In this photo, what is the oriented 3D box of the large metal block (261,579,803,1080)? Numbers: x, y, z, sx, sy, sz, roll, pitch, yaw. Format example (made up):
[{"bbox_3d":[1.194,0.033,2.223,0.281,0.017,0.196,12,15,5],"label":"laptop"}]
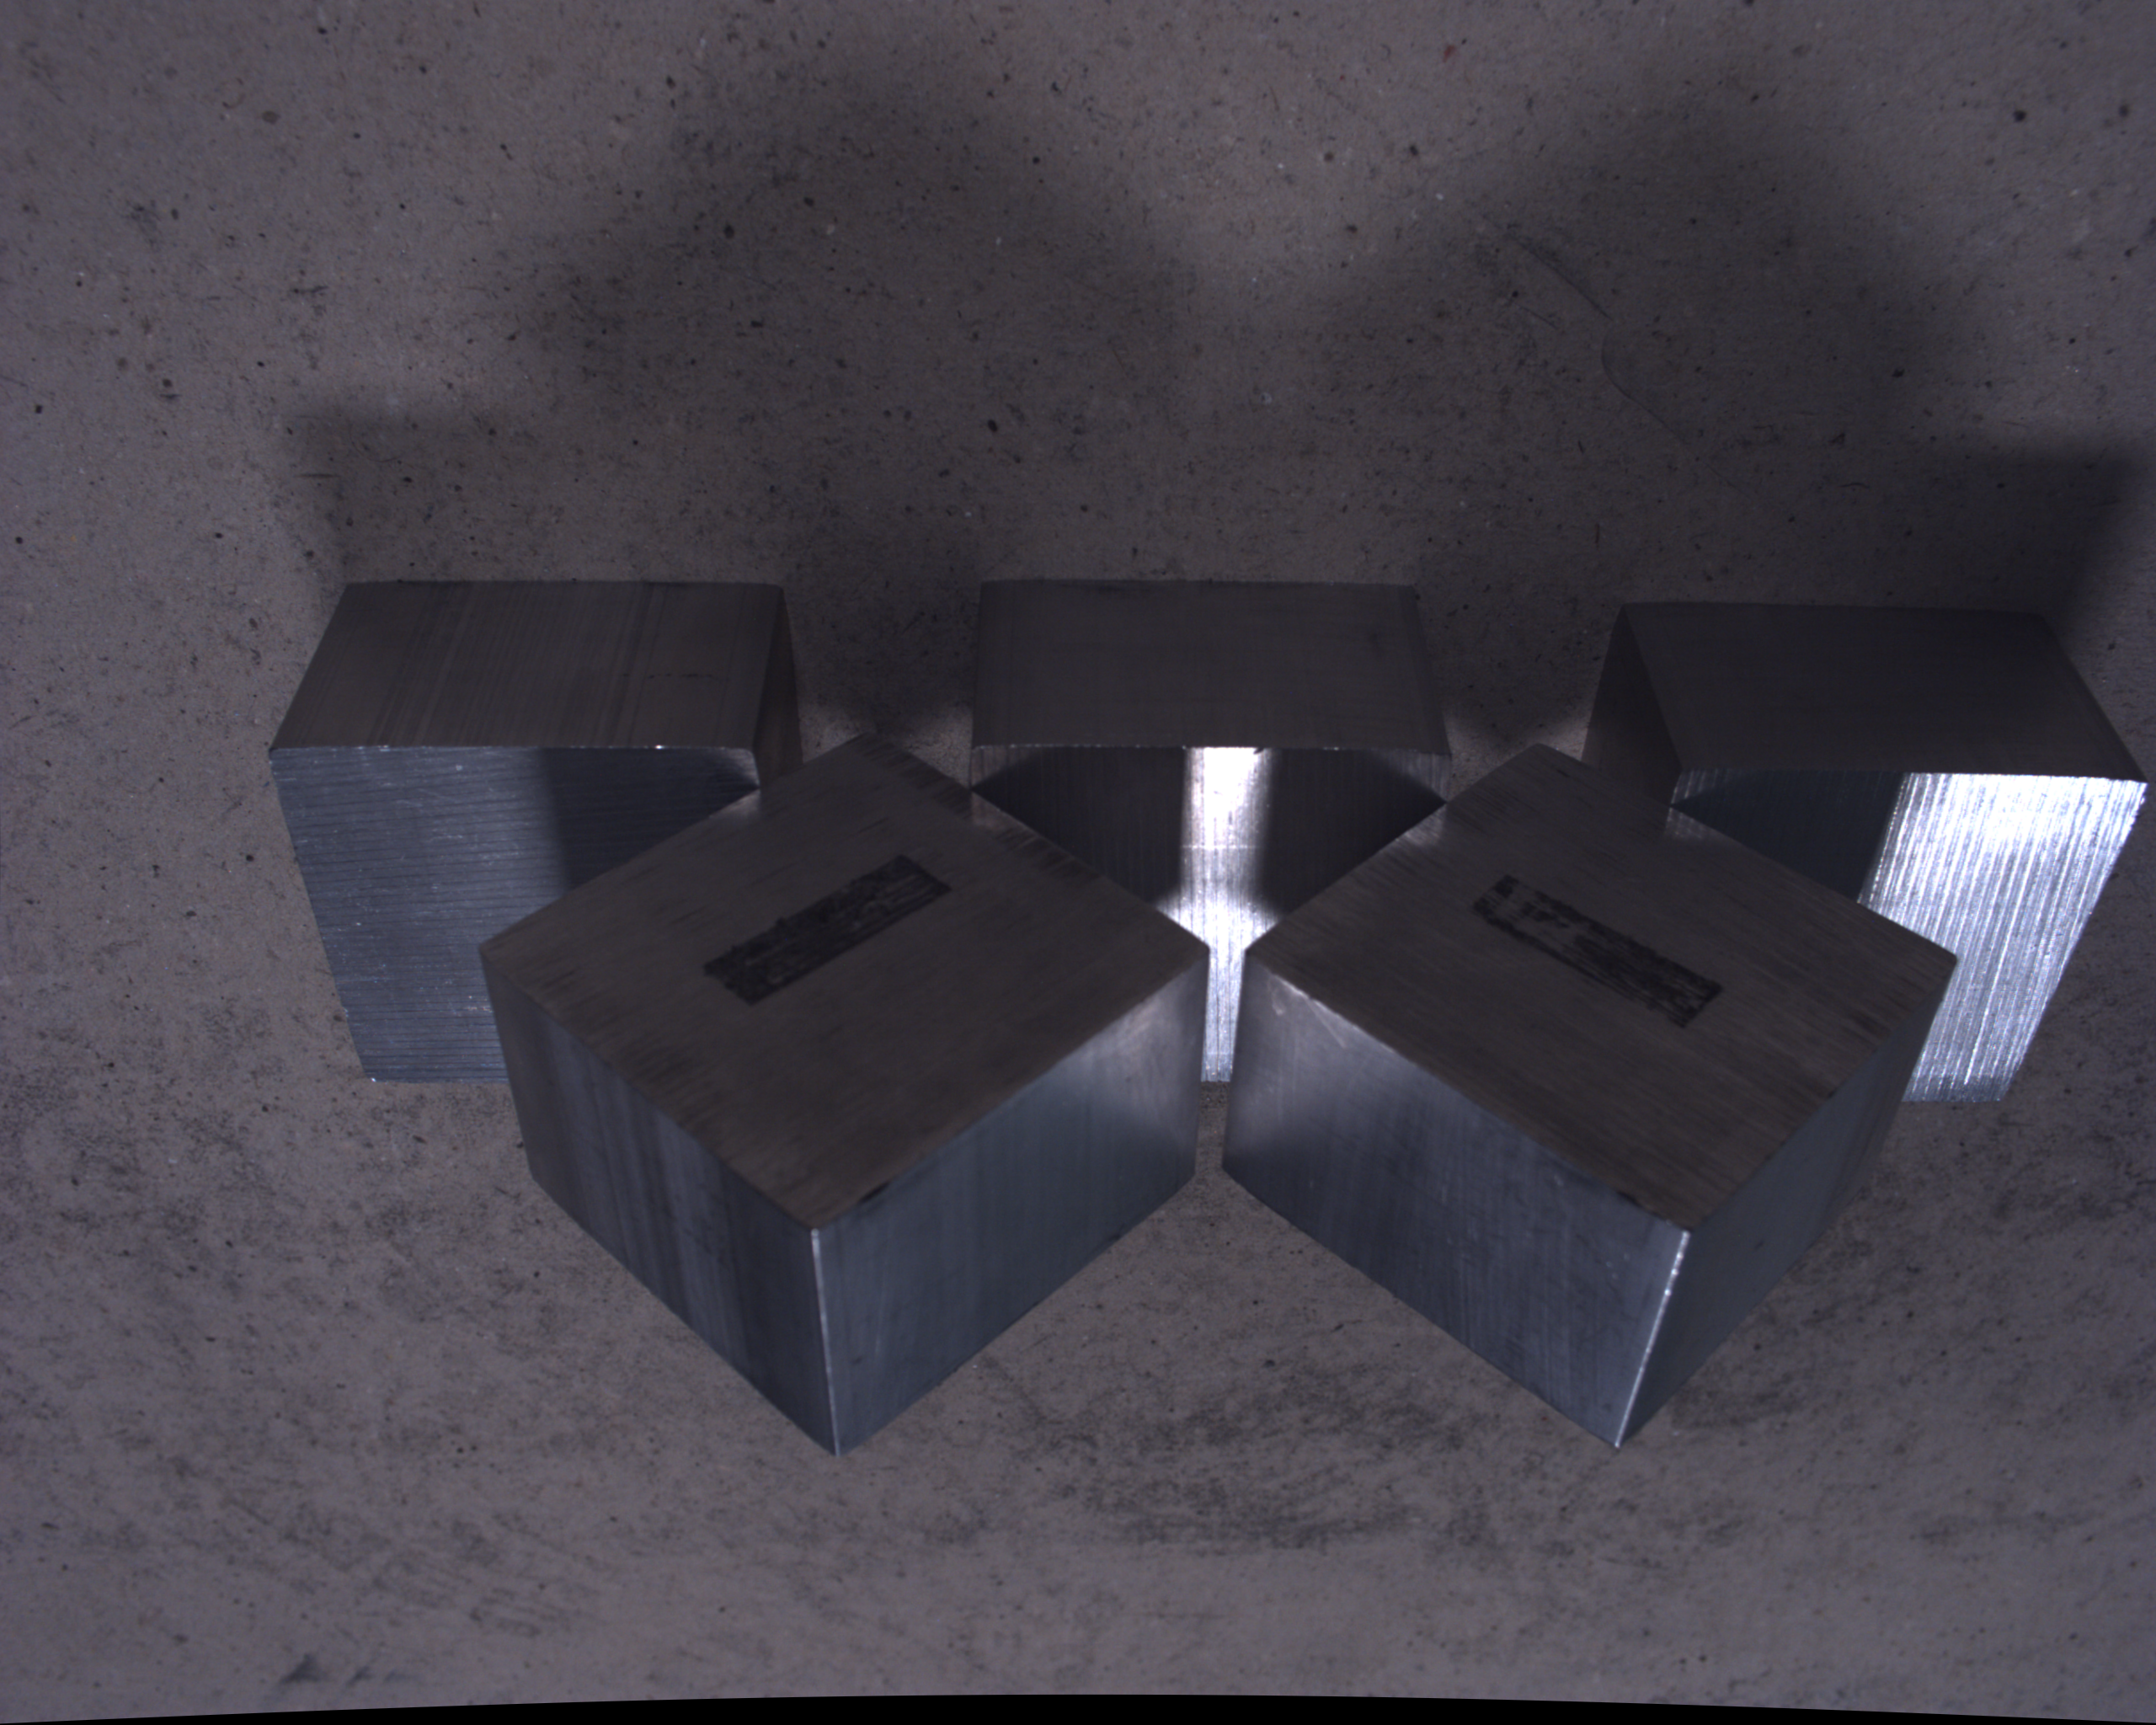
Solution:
[{"bbox_3d":[-0.094,-0.005,0.387,0.081,0.050,0.079,0,130,-1],"label":"large metal block"}]

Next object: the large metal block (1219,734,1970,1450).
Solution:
[{"bbox_3d":[0.081,0.033,0.339,0.080,0.081,0.050,33,138,32],"label":"large metal block"}]

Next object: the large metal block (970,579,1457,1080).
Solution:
[{"bbox_3d":[0.022,-0.005,0.389,0.081,0.050,0.079,1,130,-1],"label":"large metal block"}]

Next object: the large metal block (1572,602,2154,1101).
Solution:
[{"bbox_3d":[0.139,-0.001,0.394,0.081,0.050,0.079,1,130,-2],"label":"large metal block"}]

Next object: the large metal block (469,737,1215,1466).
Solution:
[{"bbox_3d":[-0.036,0.034,0.335,0.081,0.080,0.050,-34,141,-33],"label":"large metal block"}]
